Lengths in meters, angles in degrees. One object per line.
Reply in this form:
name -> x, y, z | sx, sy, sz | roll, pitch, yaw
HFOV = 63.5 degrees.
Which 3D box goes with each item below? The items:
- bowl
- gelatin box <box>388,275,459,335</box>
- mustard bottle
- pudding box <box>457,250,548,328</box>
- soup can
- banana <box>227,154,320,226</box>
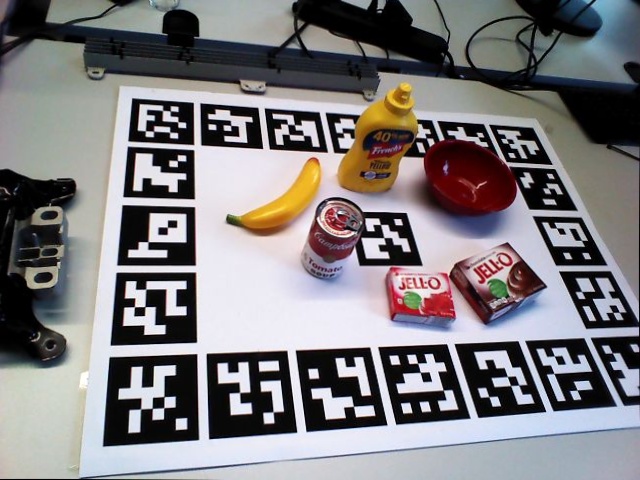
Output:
bowl -> 0.256, -0.088, 0.868 | 0.162, 0.055, 0.160 | 6, 52, -8
gelatin box -> 0.142, 0.089, 0.717 | 0.089, 0.030, 0.073 | 7, 56, -9
mustard bottle -> 0.106, -0.154, 0.772 | 0.096, 0.192, 0.058 | 2, 51, -14
pudding box -> 0.272, 0.067, 0.762 | 0.113, 0.039, 0.090 | -20, 67, -27
soup can -> 0.013, -0.005, 0.697 | 0.068, 0.102, 0.067 | 9, 50, -11
banana -> -0.050, -0.073, 0.783 | 0.074, 0.039, 0.196 | 29, 51, 20
